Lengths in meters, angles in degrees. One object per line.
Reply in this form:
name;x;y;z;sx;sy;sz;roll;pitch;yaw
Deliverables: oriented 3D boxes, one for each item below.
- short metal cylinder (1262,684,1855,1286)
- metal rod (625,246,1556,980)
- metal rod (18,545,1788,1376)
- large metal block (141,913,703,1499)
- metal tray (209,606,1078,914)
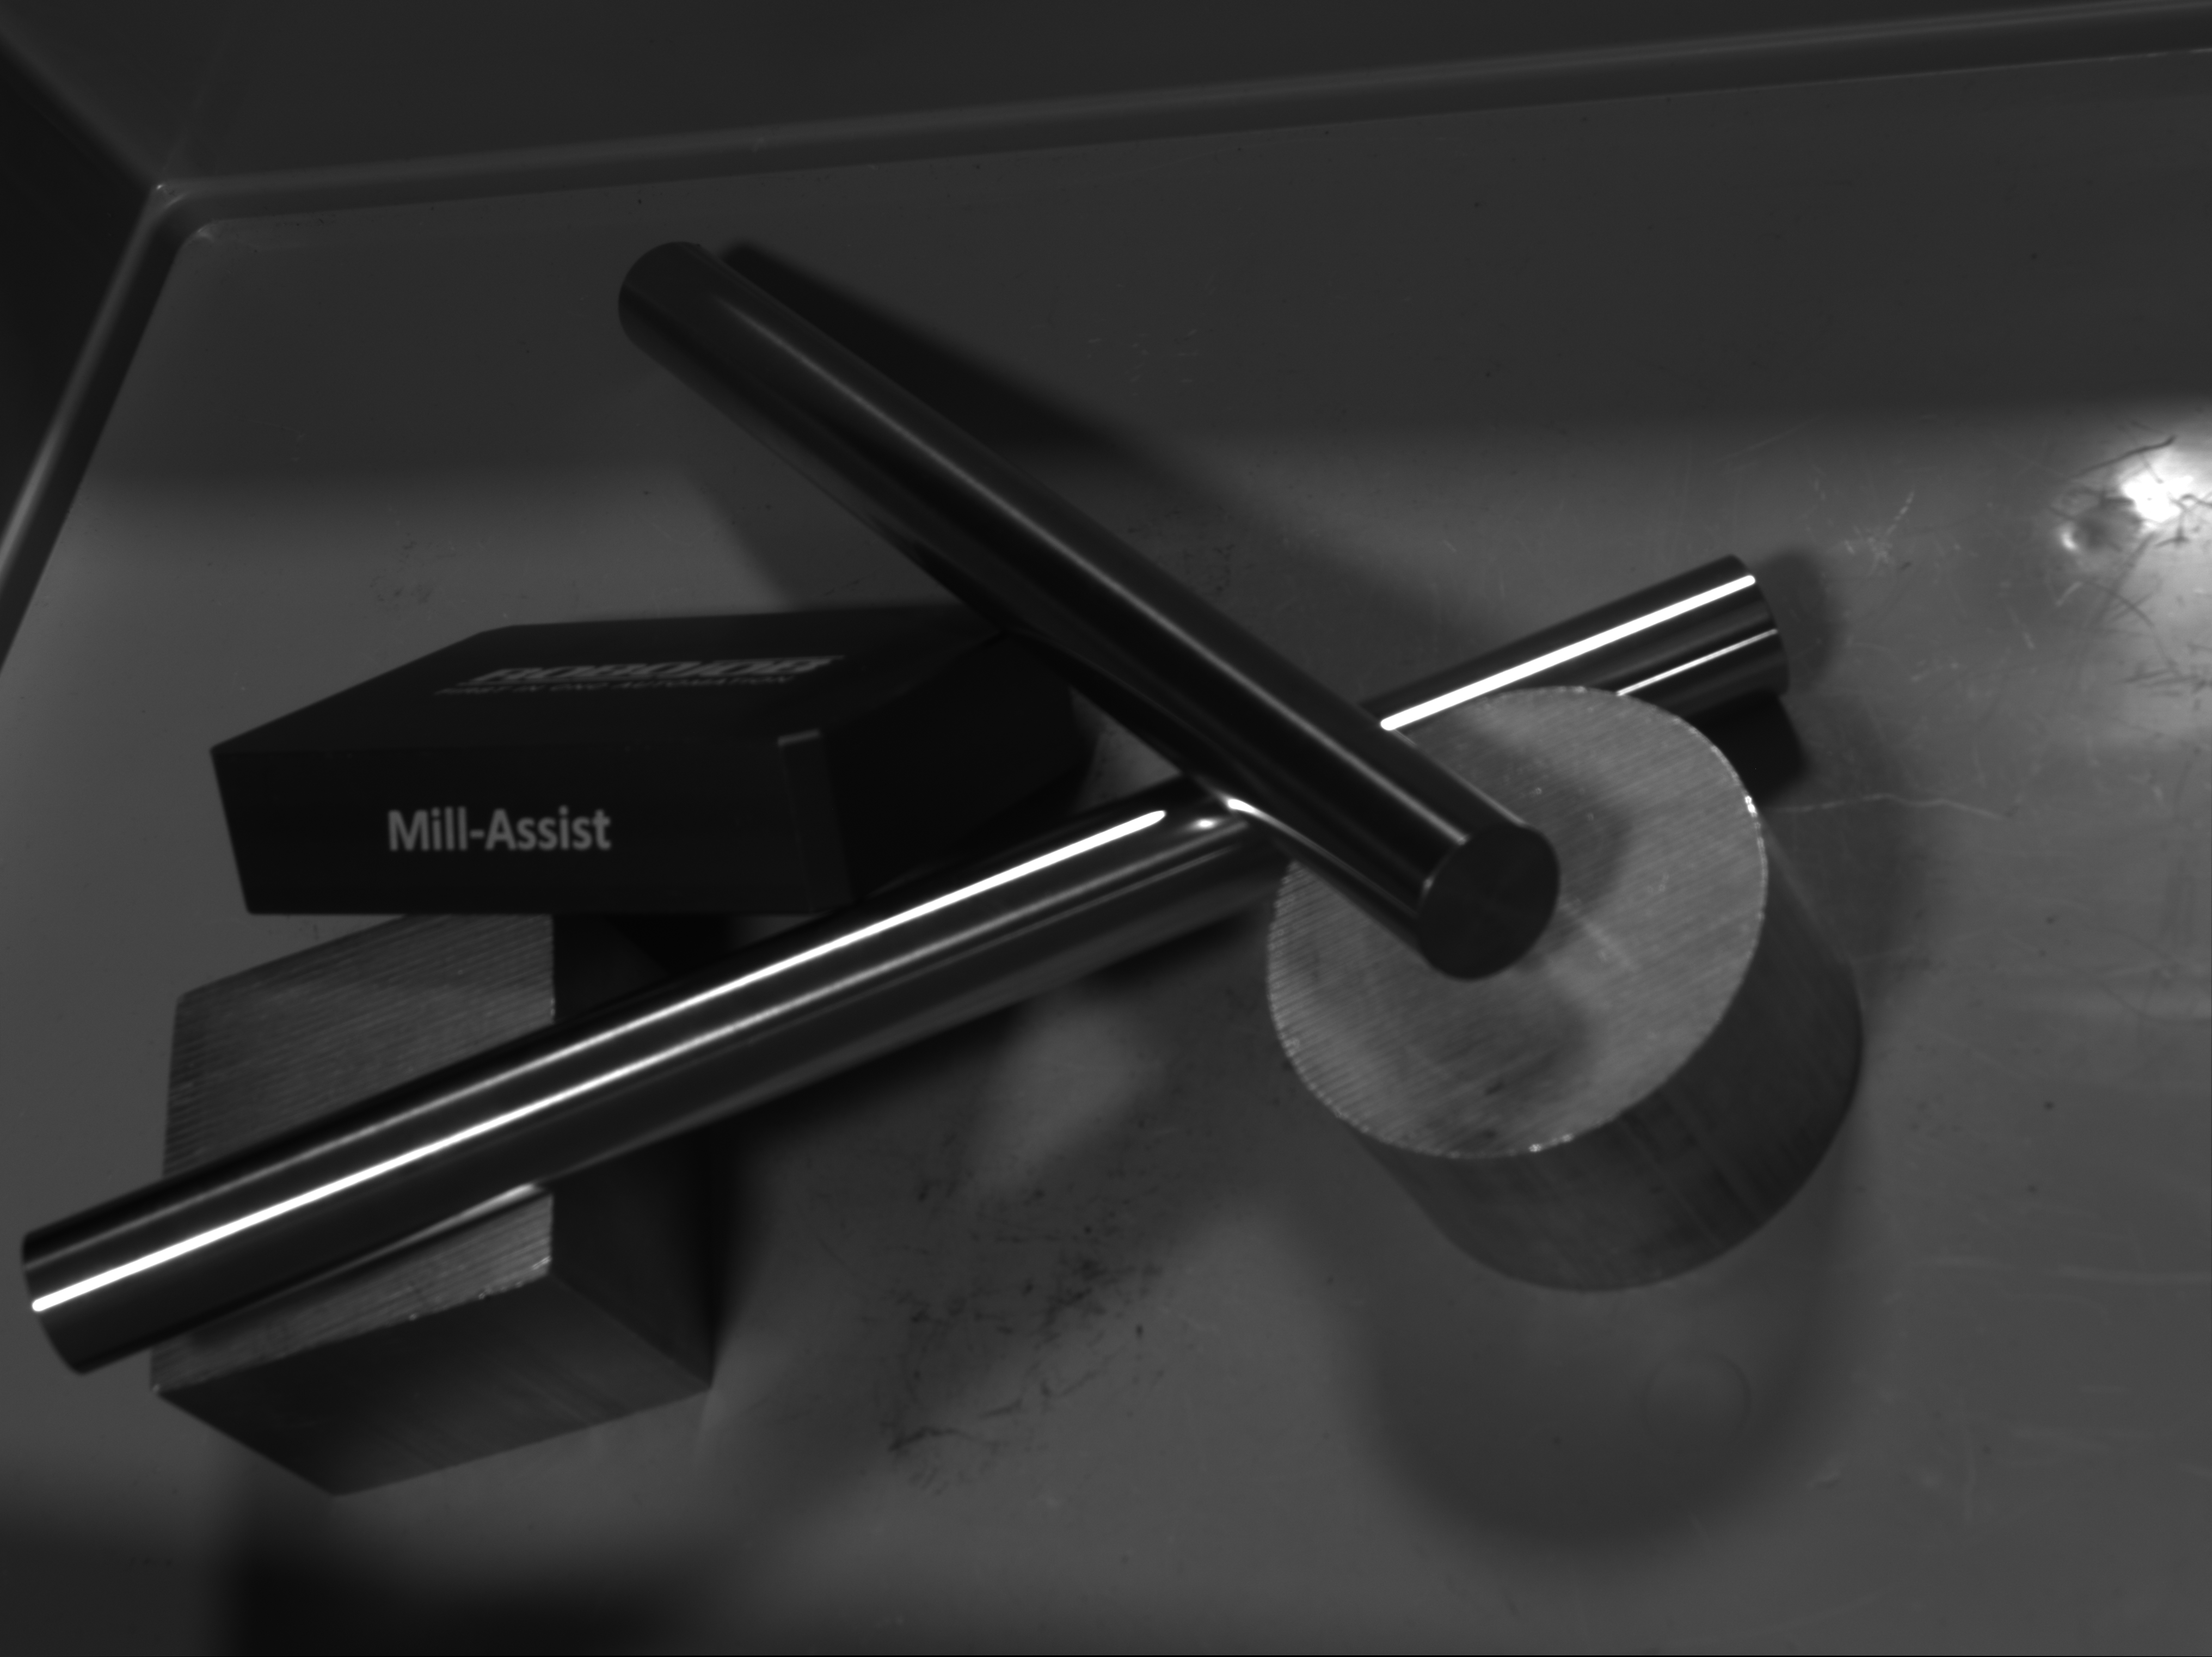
short metal cylinder;0.071;0.025;0.572;0.080;0.050;0.080;-13;56;21
metal rod;-0.017;-0.049;0.645;0.025;0.025;0.299;-46;38;-4
metal rod;-0.032;0.021;0.599;0.300;0.025;0.025;-22;52;-2
large metal block;-0.119;0.064;0.648;0.080;0.050;0.080;-18;54;18
metal tray;-0.083;-0.013;0.656;0.130;0.030;0.090;-1;17;30
